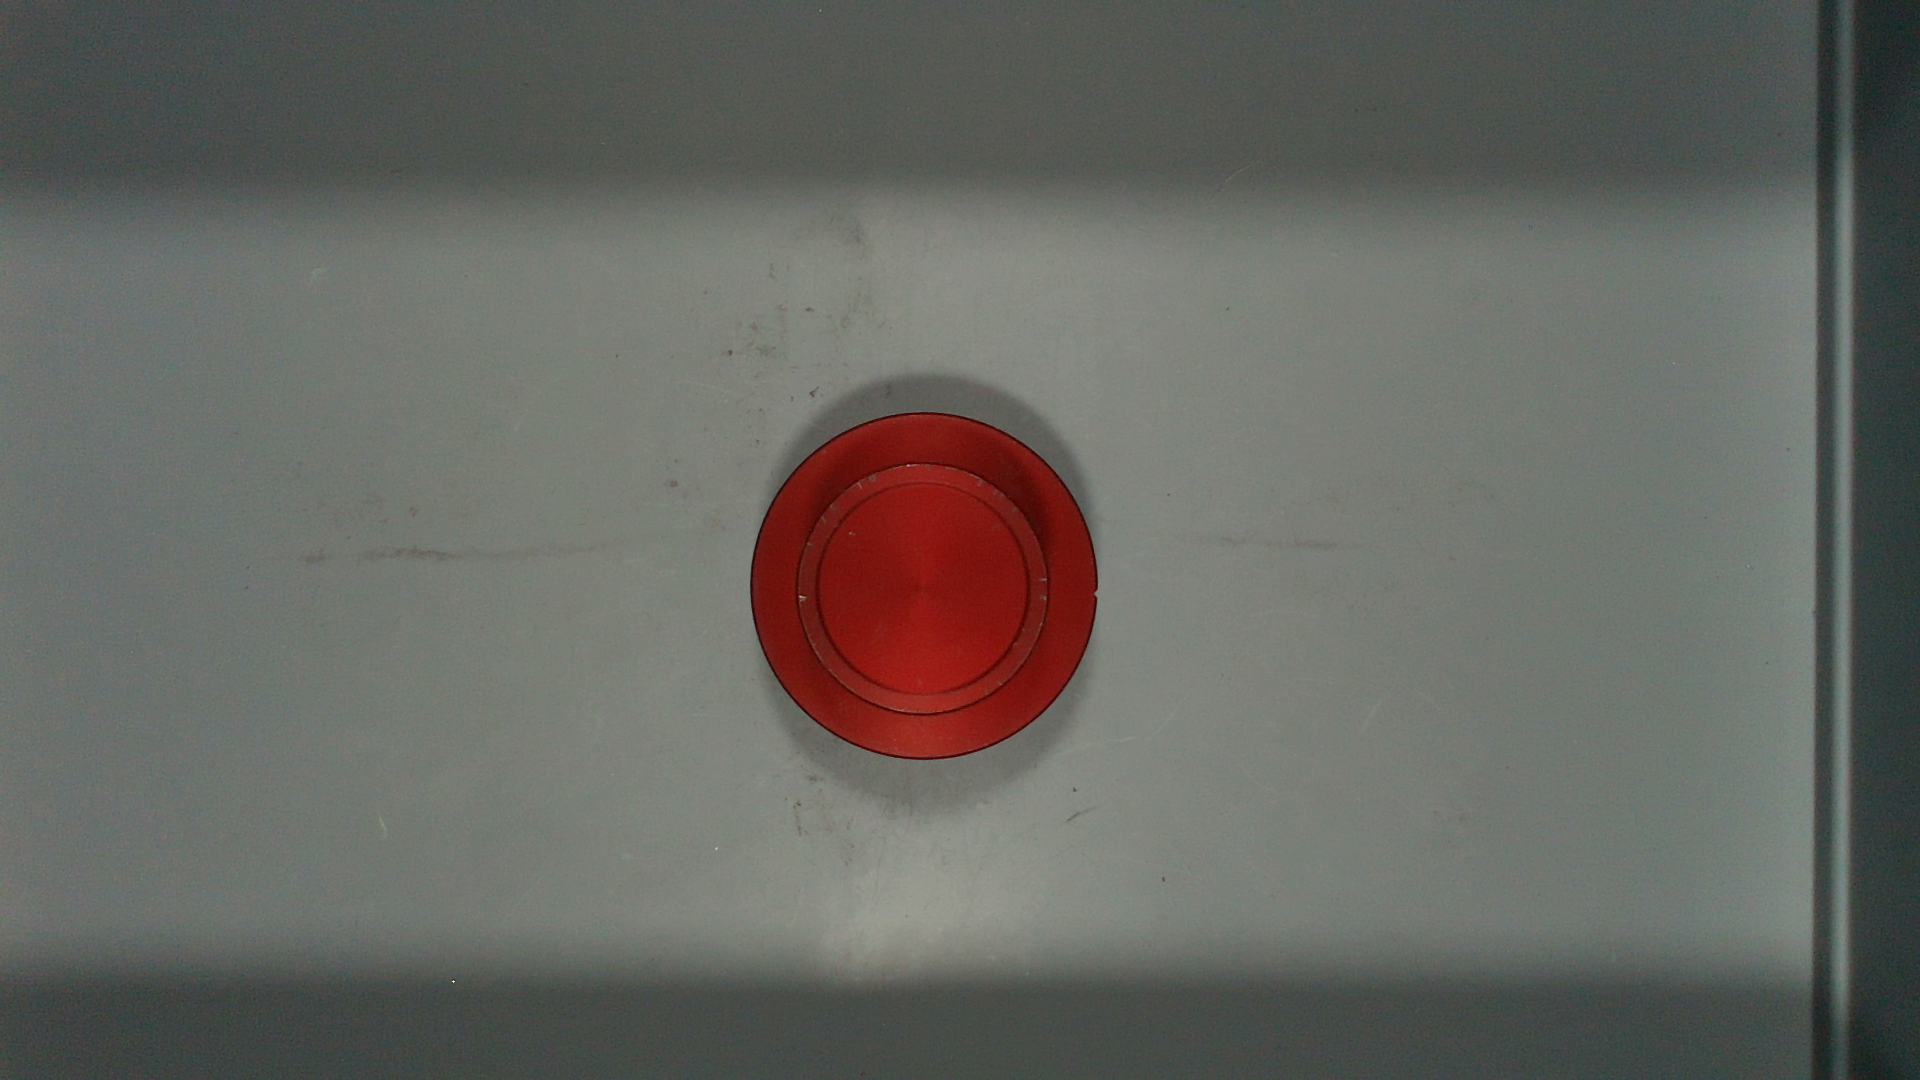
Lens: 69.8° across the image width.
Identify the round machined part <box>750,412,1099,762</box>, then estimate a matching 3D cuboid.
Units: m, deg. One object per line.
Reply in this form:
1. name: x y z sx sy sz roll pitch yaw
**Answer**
1. round machined part: -0.010 0.013 0.384 0.098 0.042 0.098 0 90 0
